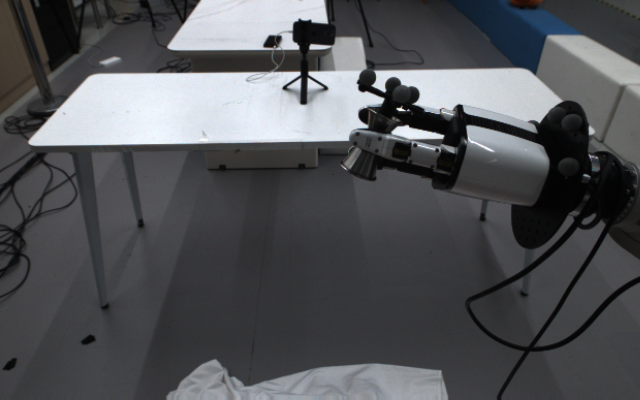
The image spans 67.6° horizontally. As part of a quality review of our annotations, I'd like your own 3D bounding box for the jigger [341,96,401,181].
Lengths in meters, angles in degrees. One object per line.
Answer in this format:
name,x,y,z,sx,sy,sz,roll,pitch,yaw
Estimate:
jigger,0.054,-0.060,0.515,0.043,0.071,0.043,23,19,-8
